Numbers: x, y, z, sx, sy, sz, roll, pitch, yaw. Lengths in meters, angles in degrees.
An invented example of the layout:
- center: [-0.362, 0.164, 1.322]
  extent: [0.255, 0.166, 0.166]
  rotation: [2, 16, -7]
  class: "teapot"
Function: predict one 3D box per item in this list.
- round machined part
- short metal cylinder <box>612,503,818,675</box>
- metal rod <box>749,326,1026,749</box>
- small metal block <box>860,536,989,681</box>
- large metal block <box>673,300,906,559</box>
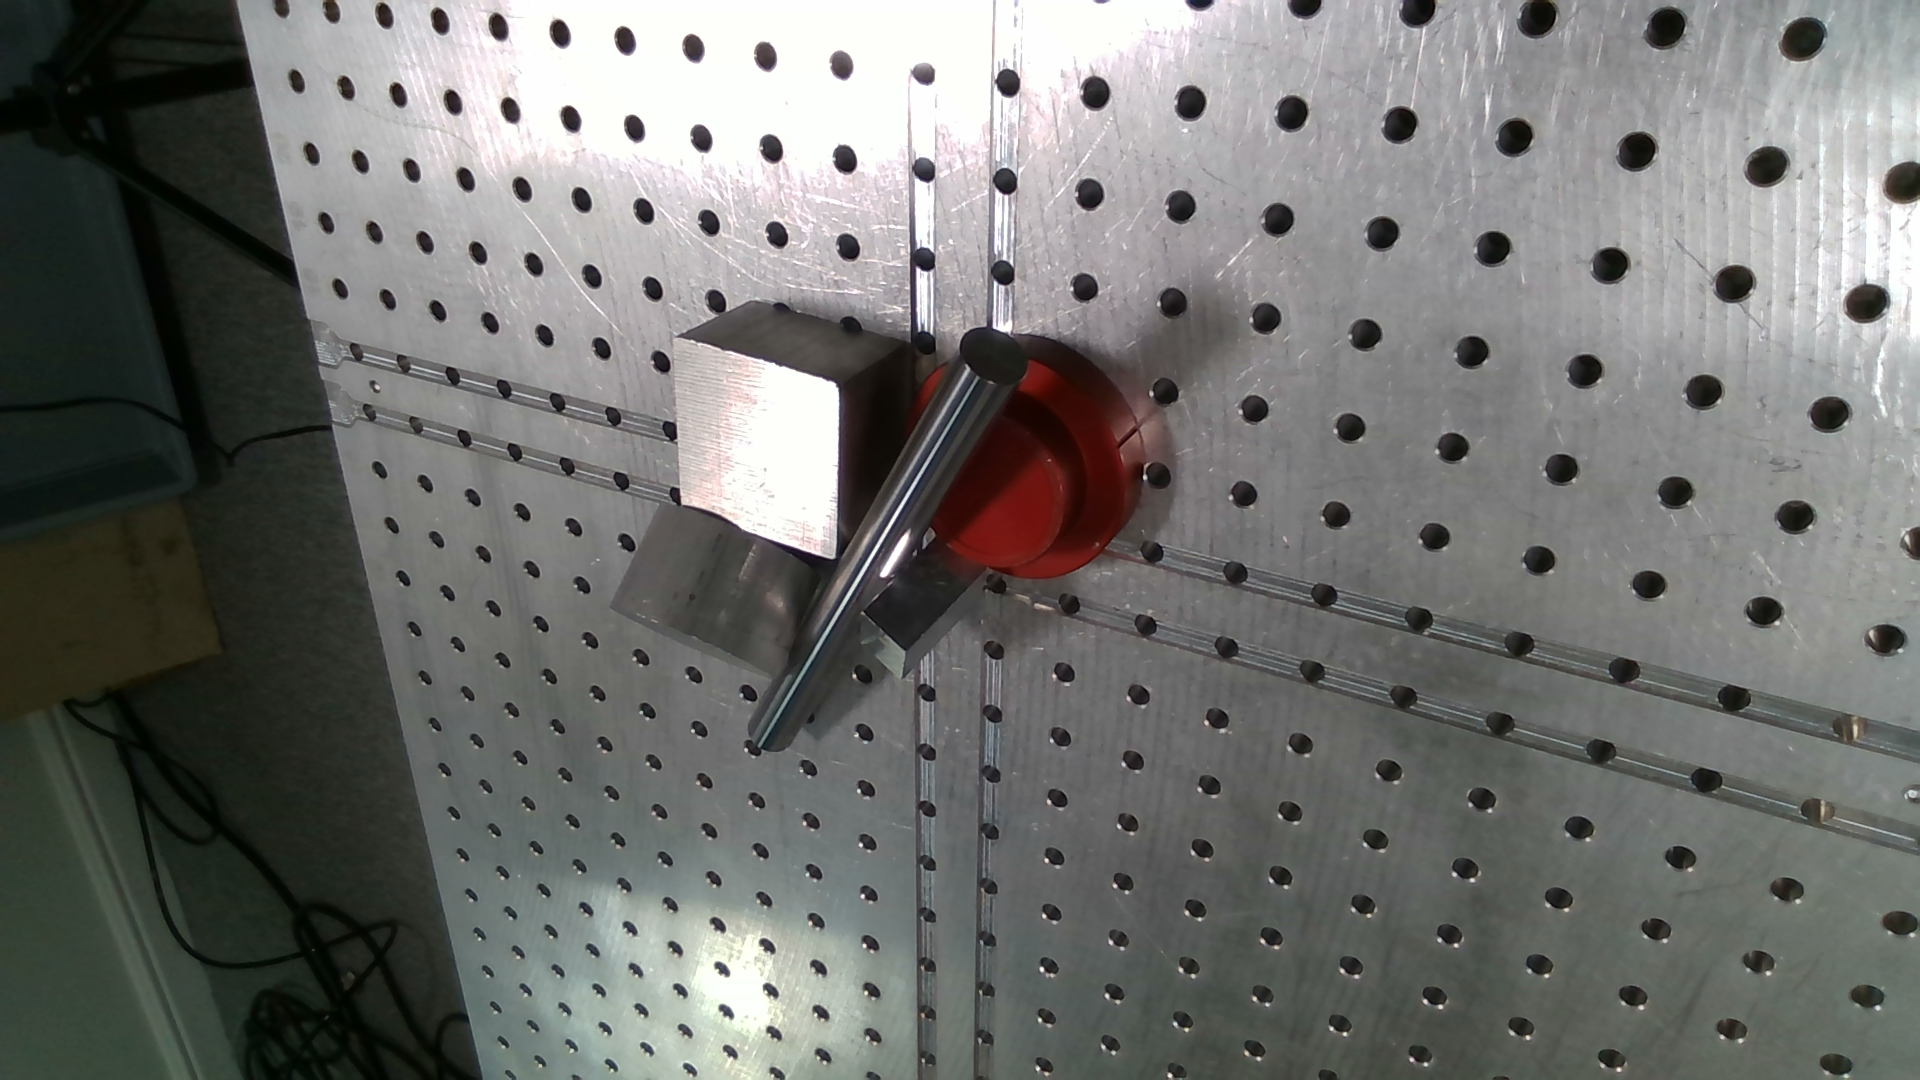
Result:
- center: [0.019, -0.029, 0.544]
  extent: [0.098, 0.042, 0.098]
  rotation: [14, 122, 25]
  class: "round machined part"
- center: [-0.110, 0.023, 0.619]
  extent: [0.080, 0.050, 0.080]
  rotation: [22, 169, 5]
  class: "short metal cylinder"
- center: [-0.042, 0.017, 0.576]
  extent: [0.025, 0.025, 0.301]
  rotation: [41, 142, 6]
  class: "metal rod"
- center: [-0.016, 0.027, 0.579]
  extent: [0.025, 0.050, 0.050]
  rotation: [42, 163, 9]
  class: "small metal block"
- center: [-0.072, -0.048, 0.582]
  extent: [0.080, 0.050, 0.080]
  rotation: [19, 123, 22]
  class: "large metal block"
